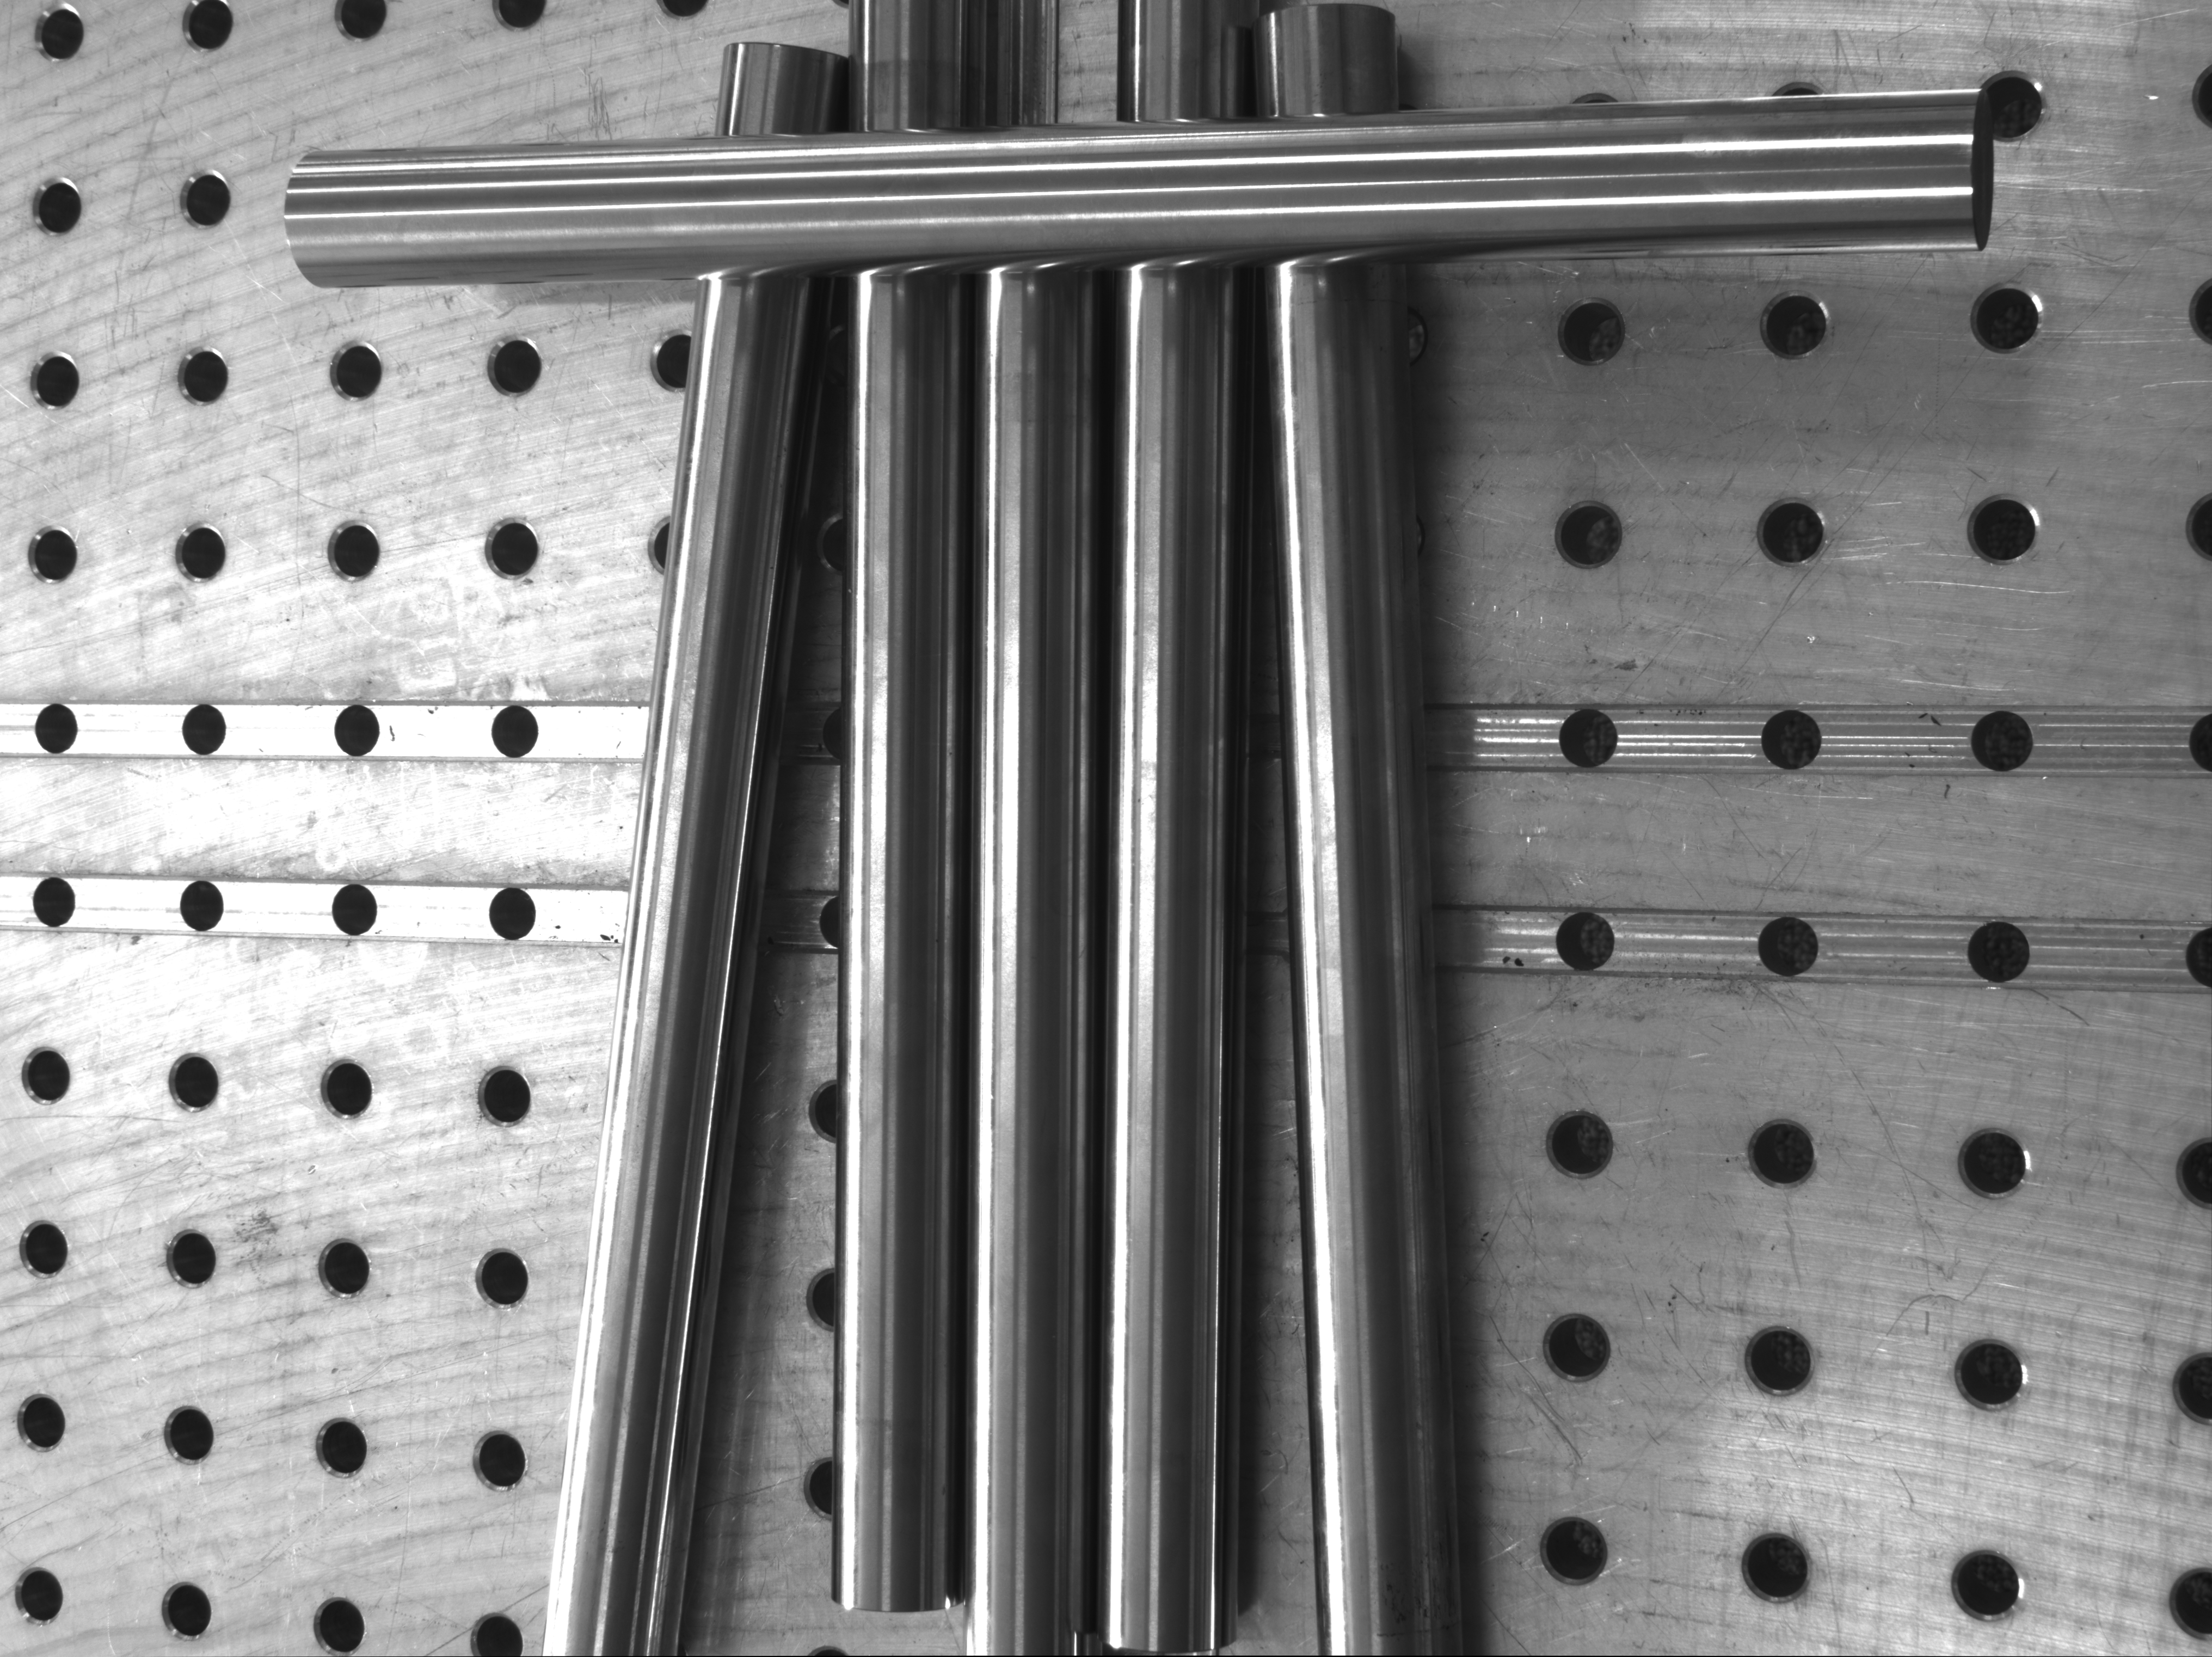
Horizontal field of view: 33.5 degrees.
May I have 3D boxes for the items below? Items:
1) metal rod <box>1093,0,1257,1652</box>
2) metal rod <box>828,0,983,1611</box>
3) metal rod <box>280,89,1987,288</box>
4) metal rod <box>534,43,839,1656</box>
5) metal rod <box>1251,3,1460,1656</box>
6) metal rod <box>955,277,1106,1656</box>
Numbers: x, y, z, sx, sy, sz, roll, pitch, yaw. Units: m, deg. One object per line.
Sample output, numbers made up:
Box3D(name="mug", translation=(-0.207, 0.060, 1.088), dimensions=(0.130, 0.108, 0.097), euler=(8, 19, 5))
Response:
Box3D(name="metal rod", translation=(0.012, -0.008, 0.646), dimensions=(0.025, 0.025, 0.300), euler=(1, 90, 20))
Box3D(name="metal rod", translation=(-0.036, -0.011, 0.663), dimensions=(0.025, 0.025, 0.300), euler=(1, 90, 20))
Box3D(name="metal rod", translation=(-0.004, -0.107, 0.624), dimensions=(0.299, 0.025, 0.025), euler=(2, 91, 20))
Box3D(name="metal rod", translation=(-0.076, 0.008, 0.676), dimensions=(0.025, 0.025, 0.300), euler=(8, 93, 20))
Box3D(name="metal rod", translation=(0.043, 0.010, 0.634), dimensions=(0.025, 0.025, 0.300), euler=(-3, 89, 20))
Box3D(name="metal rod", translation=(-0.013, 0.045, 0.654), dimensions=(0.025, 0.025, 0.300), euler=(1, 91, 20))
